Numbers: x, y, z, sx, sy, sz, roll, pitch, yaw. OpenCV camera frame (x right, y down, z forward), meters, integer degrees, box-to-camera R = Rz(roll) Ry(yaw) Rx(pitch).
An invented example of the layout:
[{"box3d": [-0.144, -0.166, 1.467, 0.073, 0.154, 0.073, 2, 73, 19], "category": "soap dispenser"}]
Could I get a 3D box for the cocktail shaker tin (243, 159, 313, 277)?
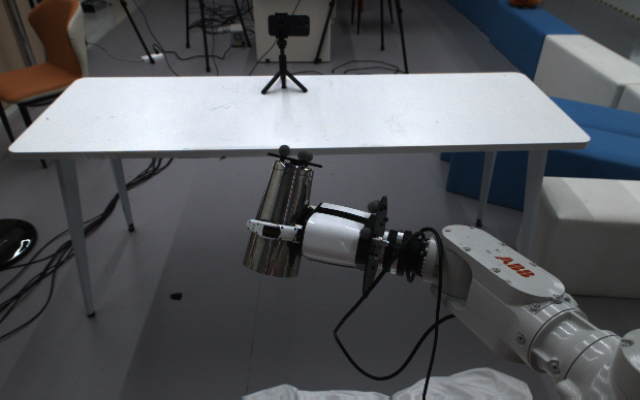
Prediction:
[{"box3d": [-0.060, 0.027, 0.771, 0.093, 0.170, 0.093, 13, 5, -1], "category": "cocktail shaker tin"}]
